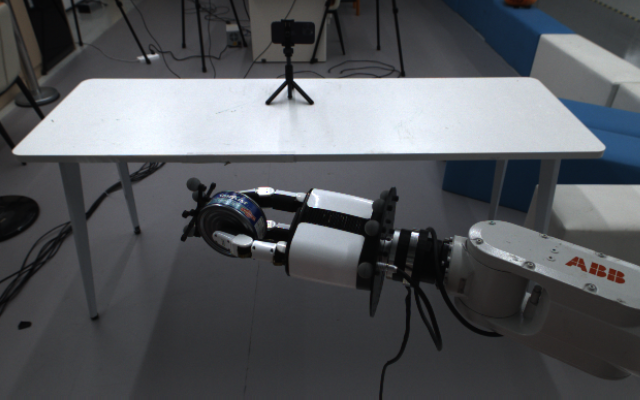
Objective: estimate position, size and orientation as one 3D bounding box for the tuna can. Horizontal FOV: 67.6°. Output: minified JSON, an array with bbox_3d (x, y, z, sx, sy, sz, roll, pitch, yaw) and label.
[{"bbox_3d":[-0.109,0.037,0.621,0.085,0.085,0.034,11,35,13],"label":"tuna can"}]
